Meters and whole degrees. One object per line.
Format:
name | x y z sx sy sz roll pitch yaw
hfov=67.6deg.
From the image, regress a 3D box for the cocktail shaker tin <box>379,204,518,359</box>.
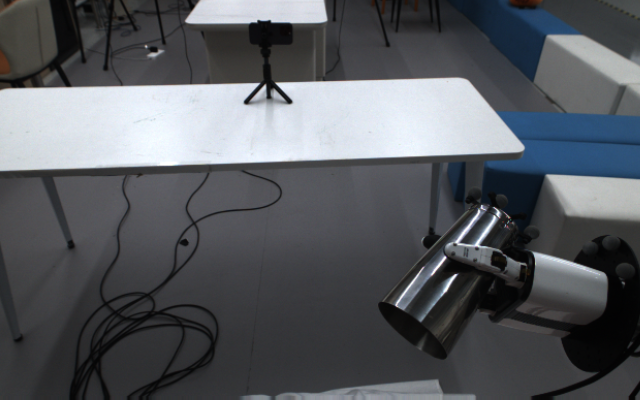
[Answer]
cocktail shaker tin | 0.156 0.080 0.558 0.093 0.093 0.170 32 67 35
